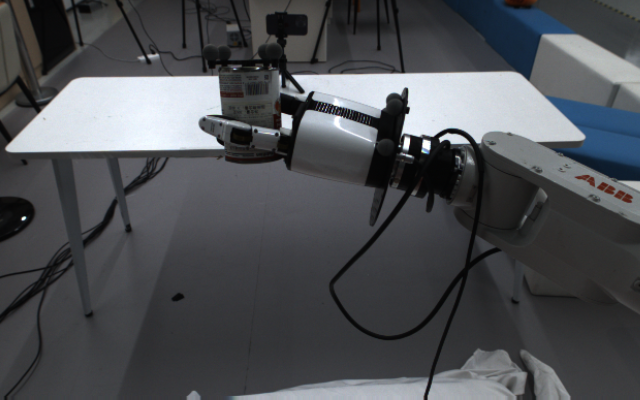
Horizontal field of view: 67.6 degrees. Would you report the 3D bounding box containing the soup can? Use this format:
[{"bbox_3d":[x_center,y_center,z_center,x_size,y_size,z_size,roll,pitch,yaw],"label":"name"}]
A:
[{"bbox_3d":[-0.075,-0.096,0.540,0.067,0.101,0.067,-1,17,0],"label":"soup can"}]
